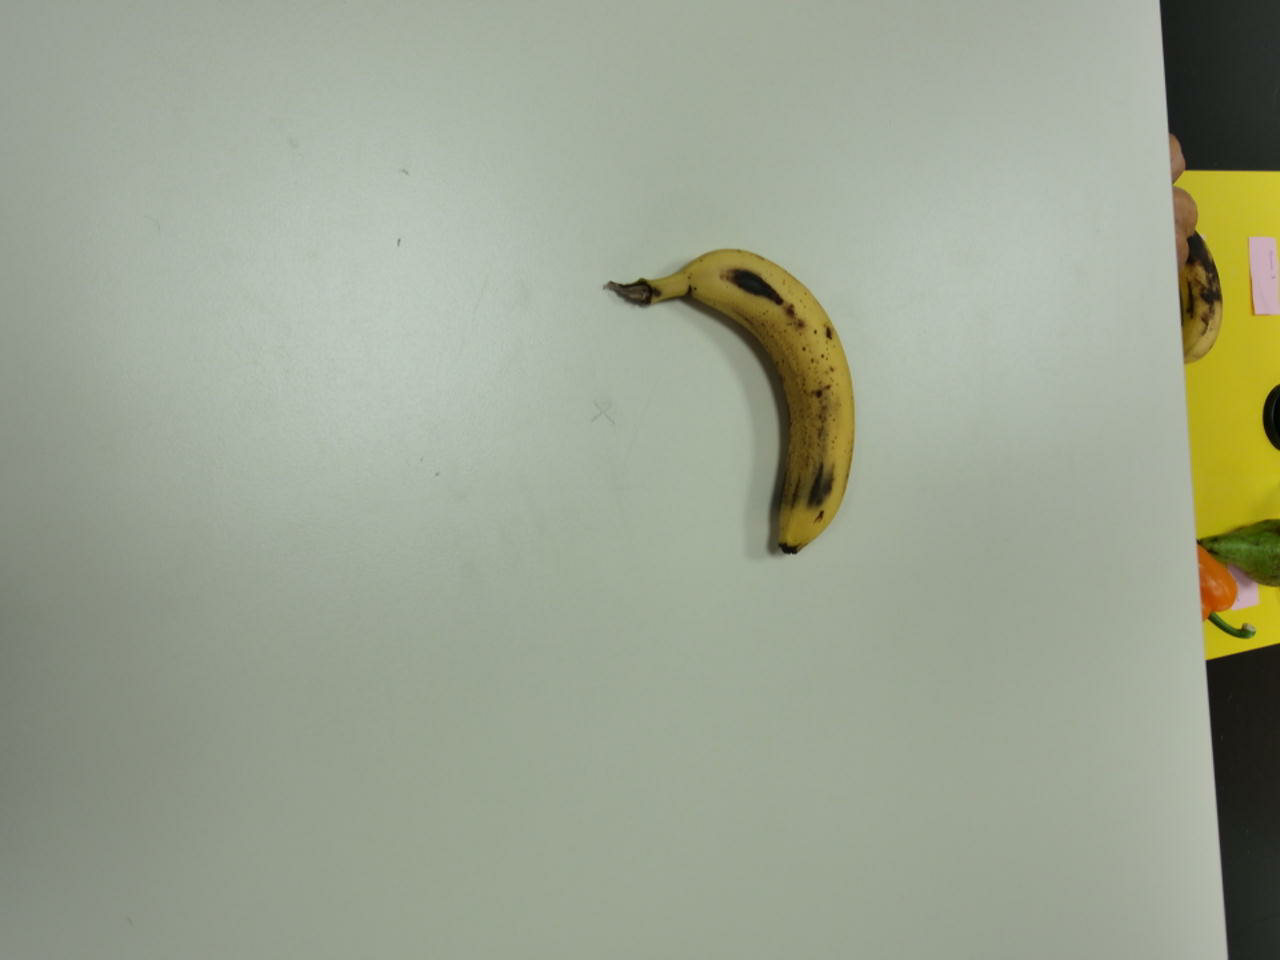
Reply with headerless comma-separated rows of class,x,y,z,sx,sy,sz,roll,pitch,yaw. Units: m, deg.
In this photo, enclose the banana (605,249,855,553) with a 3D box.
banana,0.078,-0.057,0.588,0.097,0.038,0.186,-36,103,-18
